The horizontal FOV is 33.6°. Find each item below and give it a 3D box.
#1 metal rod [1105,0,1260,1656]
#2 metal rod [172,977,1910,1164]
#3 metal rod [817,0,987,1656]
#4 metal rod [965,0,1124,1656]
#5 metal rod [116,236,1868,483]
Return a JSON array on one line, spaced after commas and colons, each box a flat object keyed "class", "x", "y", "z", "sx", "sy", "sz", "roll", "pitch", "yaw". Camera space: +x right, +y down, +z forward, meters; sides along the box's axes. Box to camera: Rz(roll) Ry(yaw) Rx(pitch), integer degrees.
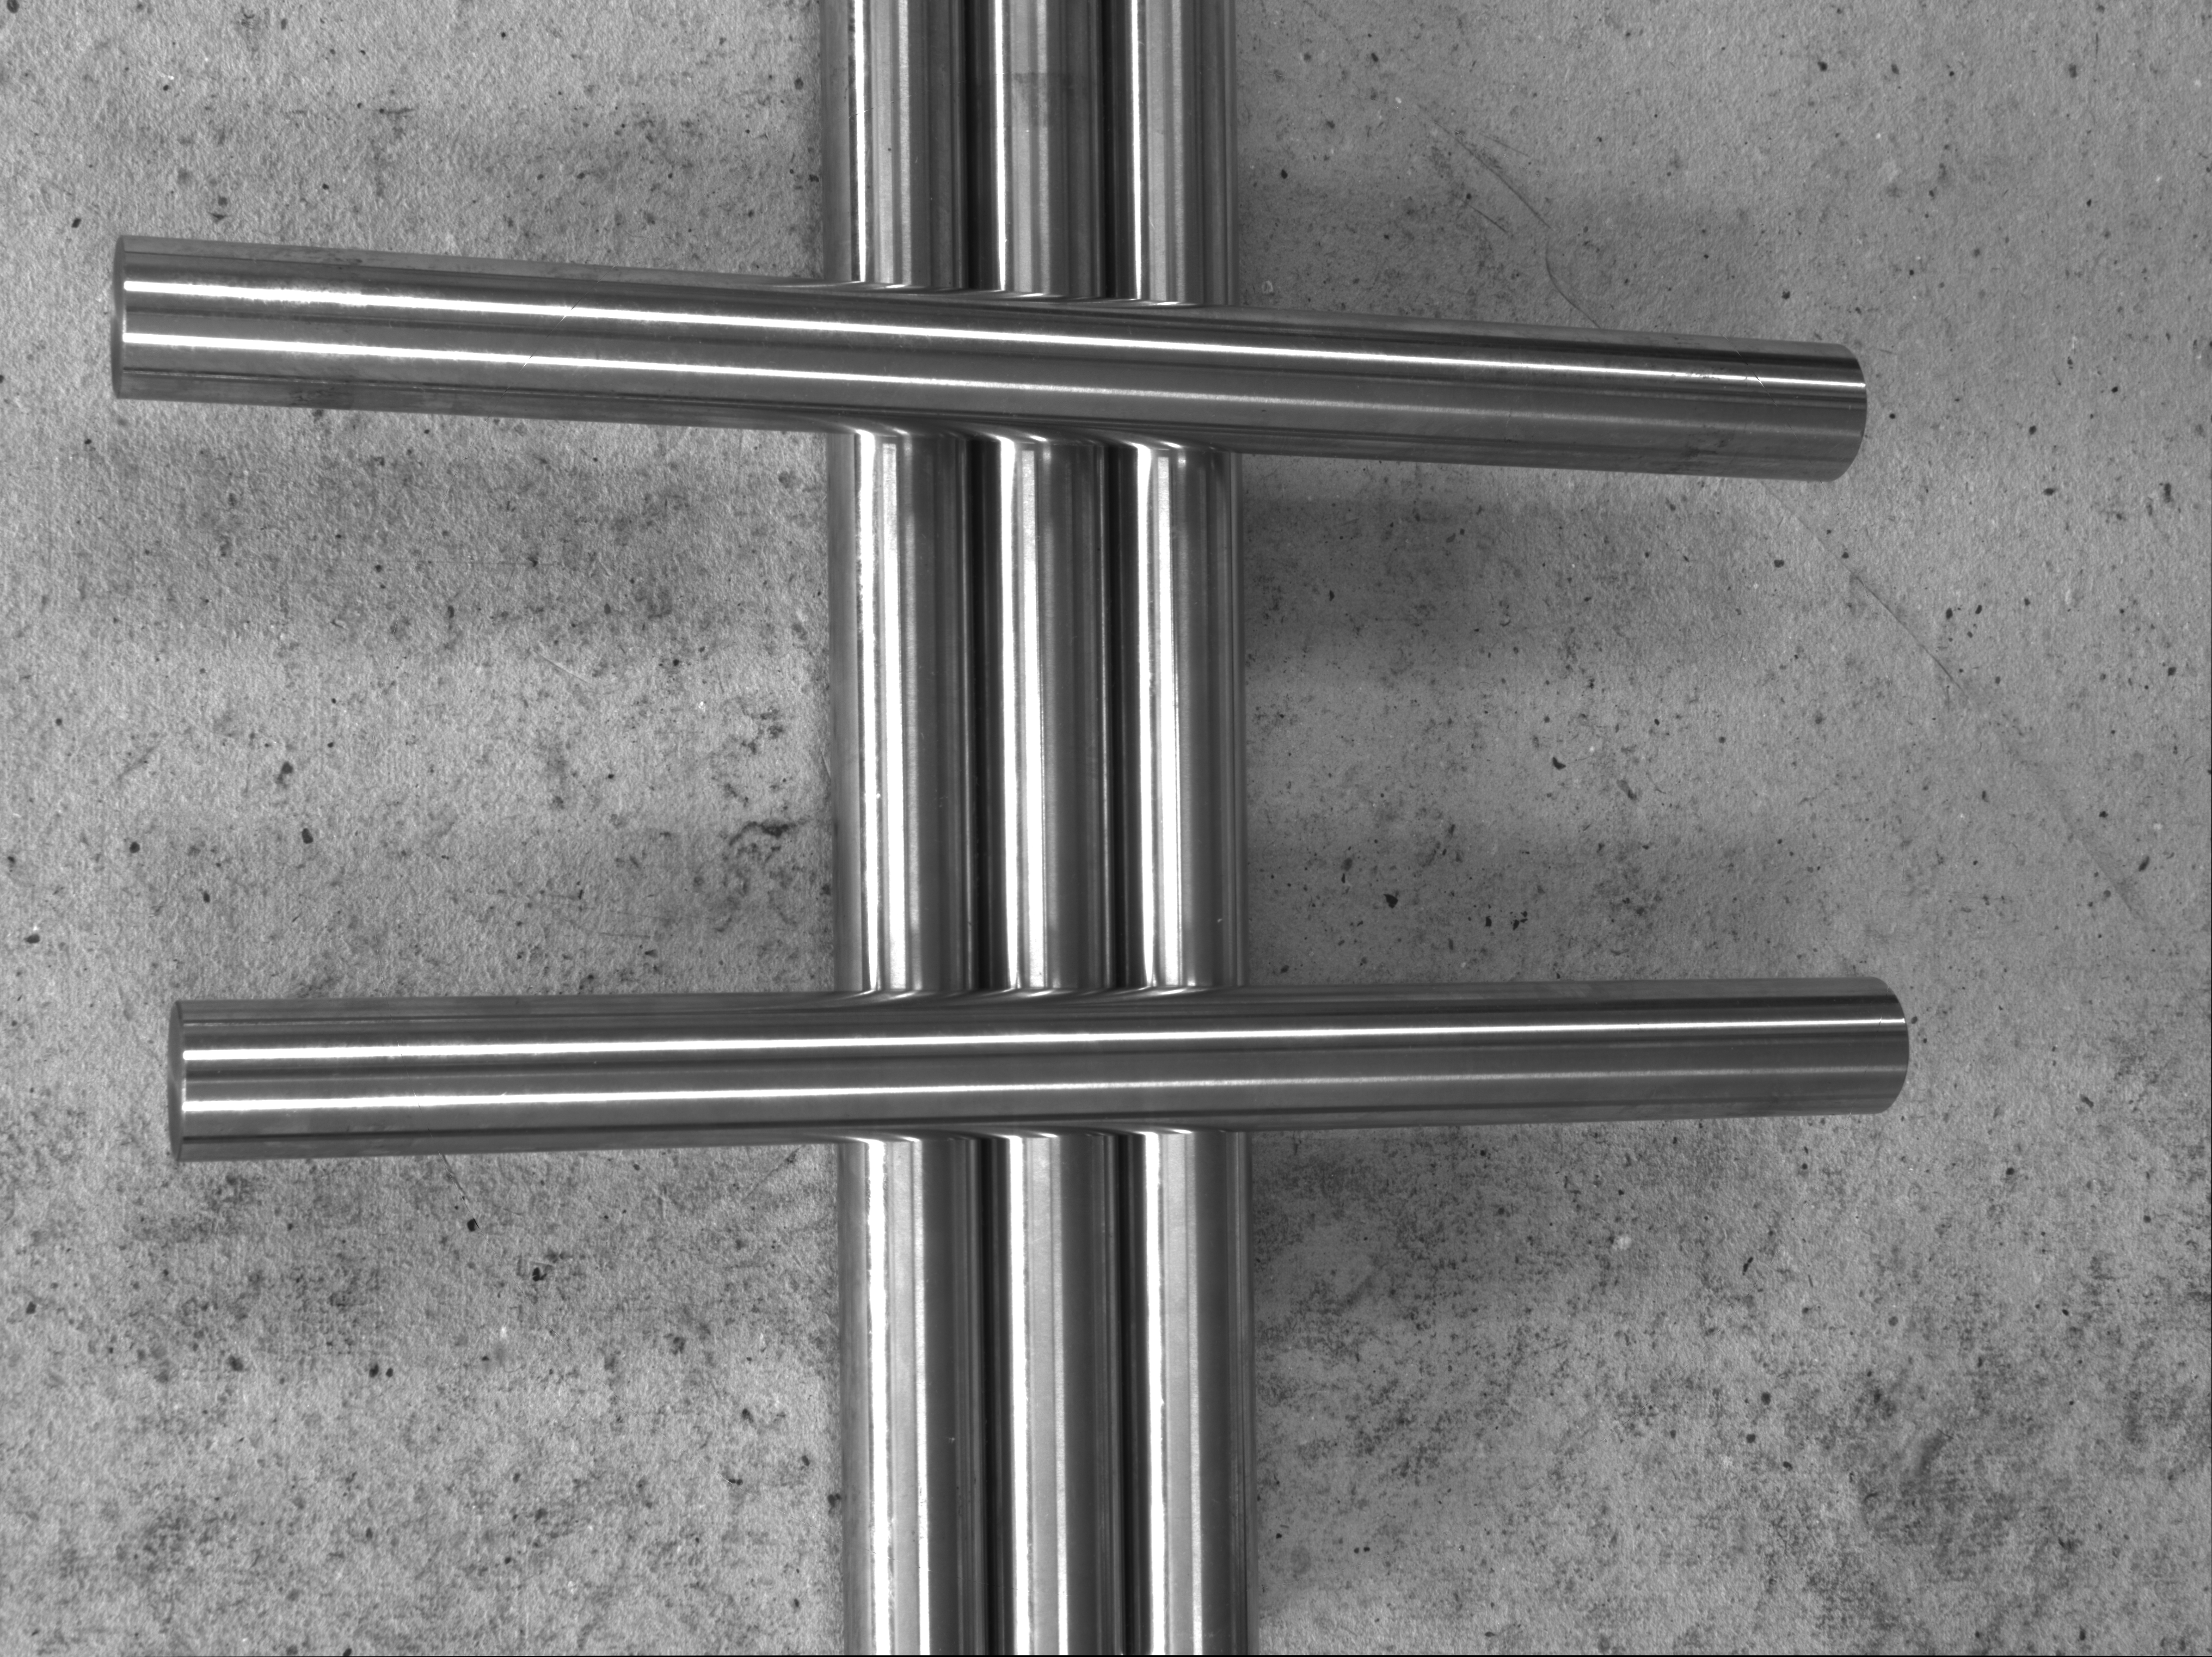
[{"class": "metal rod", "x": 0.012, "y": -0.004, "z": 0.647, "sx": 0.025, "sy": 0.025, "sz": 0.300, "roll": -1, "pitch": 90, "yaw": -20}, {"class": "metal rod", "x": -0.002, "y": 0.039, "z": 0.616, "sx": 0.301, "sy": 0.025, "sz": 0.025, "roll": 0, "pitch": 90, "yaw": -20}, {"class": "metal rod", "x": -0.035, "y": -0.004, "z": 0.630, "sx": 0.025, "sy": 0.025, "sz": 0.300, "roll": -1, "pitch": 90, "yaw": -20}, {"class": "metal rod", "x": -0.012, "y": -0.004, "z": 0.639, "sx": 0.025, "sy": 0.025, "sz": 0.300, "roll": -1, "pitch": 90, "yaw": -20}, {"class": "metal rod", "x": -0.010, "y": -0.077, "z": 0.613, "sx": 0.301, "sy": 0.025, "sz": 0.025, "roll": 1, "pitch": 90, "yaw": -20}]
